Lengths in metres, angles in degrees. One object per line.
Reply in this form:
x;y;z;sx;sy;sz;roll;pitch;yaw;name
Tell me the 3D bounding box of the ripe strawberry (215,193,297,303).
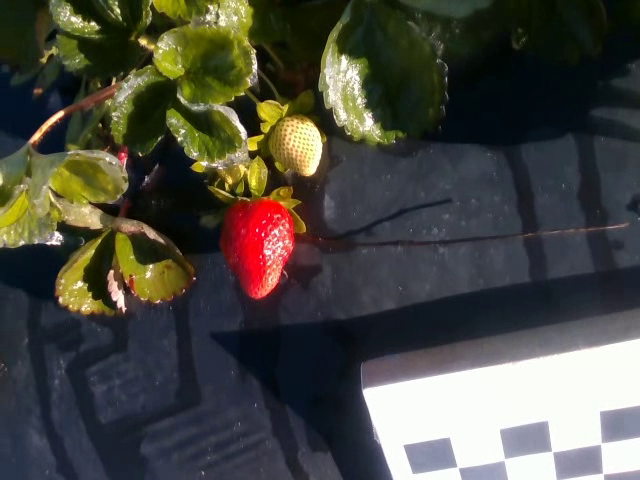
-0.022;0.007;0.227;0.039;0.039;0.040;-16;-34;24;ripe strawberry
